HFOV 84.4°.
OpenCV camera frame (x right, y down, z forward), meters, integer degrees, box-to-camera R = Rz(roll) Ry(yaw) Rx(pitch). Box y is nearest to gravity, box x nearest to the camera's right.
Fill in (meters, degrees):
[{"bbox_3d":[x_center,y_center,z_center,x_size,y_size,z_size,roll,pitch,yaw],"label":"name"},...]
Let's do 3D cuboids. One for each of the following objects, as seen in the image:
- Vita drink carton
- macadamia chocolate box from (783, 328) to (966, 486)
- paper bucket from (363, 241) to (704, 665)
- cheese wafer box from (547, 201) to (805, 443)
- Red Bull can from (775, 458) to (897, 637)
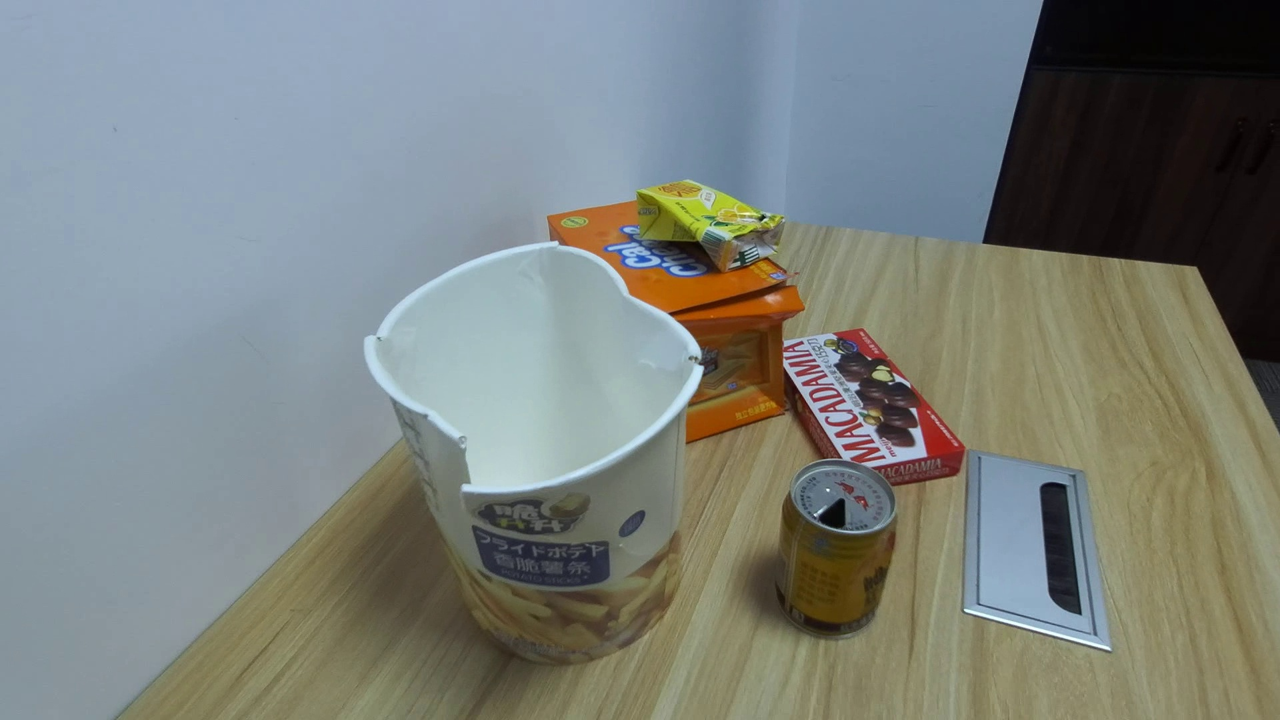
[{"bbox_3d":[0.057,-0.109,0.579,0.087,0.042,0.108,-22,42,-40],"label":"Vita drink carton"},{"bbox_3d":[0.182,0.036,0.596,0.096,0.027,0.177,-9,35,-7],"label":"macadamia chocolate box"},{"bbox_3d":[-0.050,0.063,0.419,0.146,0.197,0.201,-25,40,-26],"label":"paper bucket"},{"bbox_3d":[0.021,-0.045,0.630,0.150,0.137,0.226,-14,35,-18],"label":"cheese wafer box"},{"bbox_3d":[0.117,0.113,0.427,0.068,0.093,0.068,-2,35,2],"label":"Red Bull can"}]
